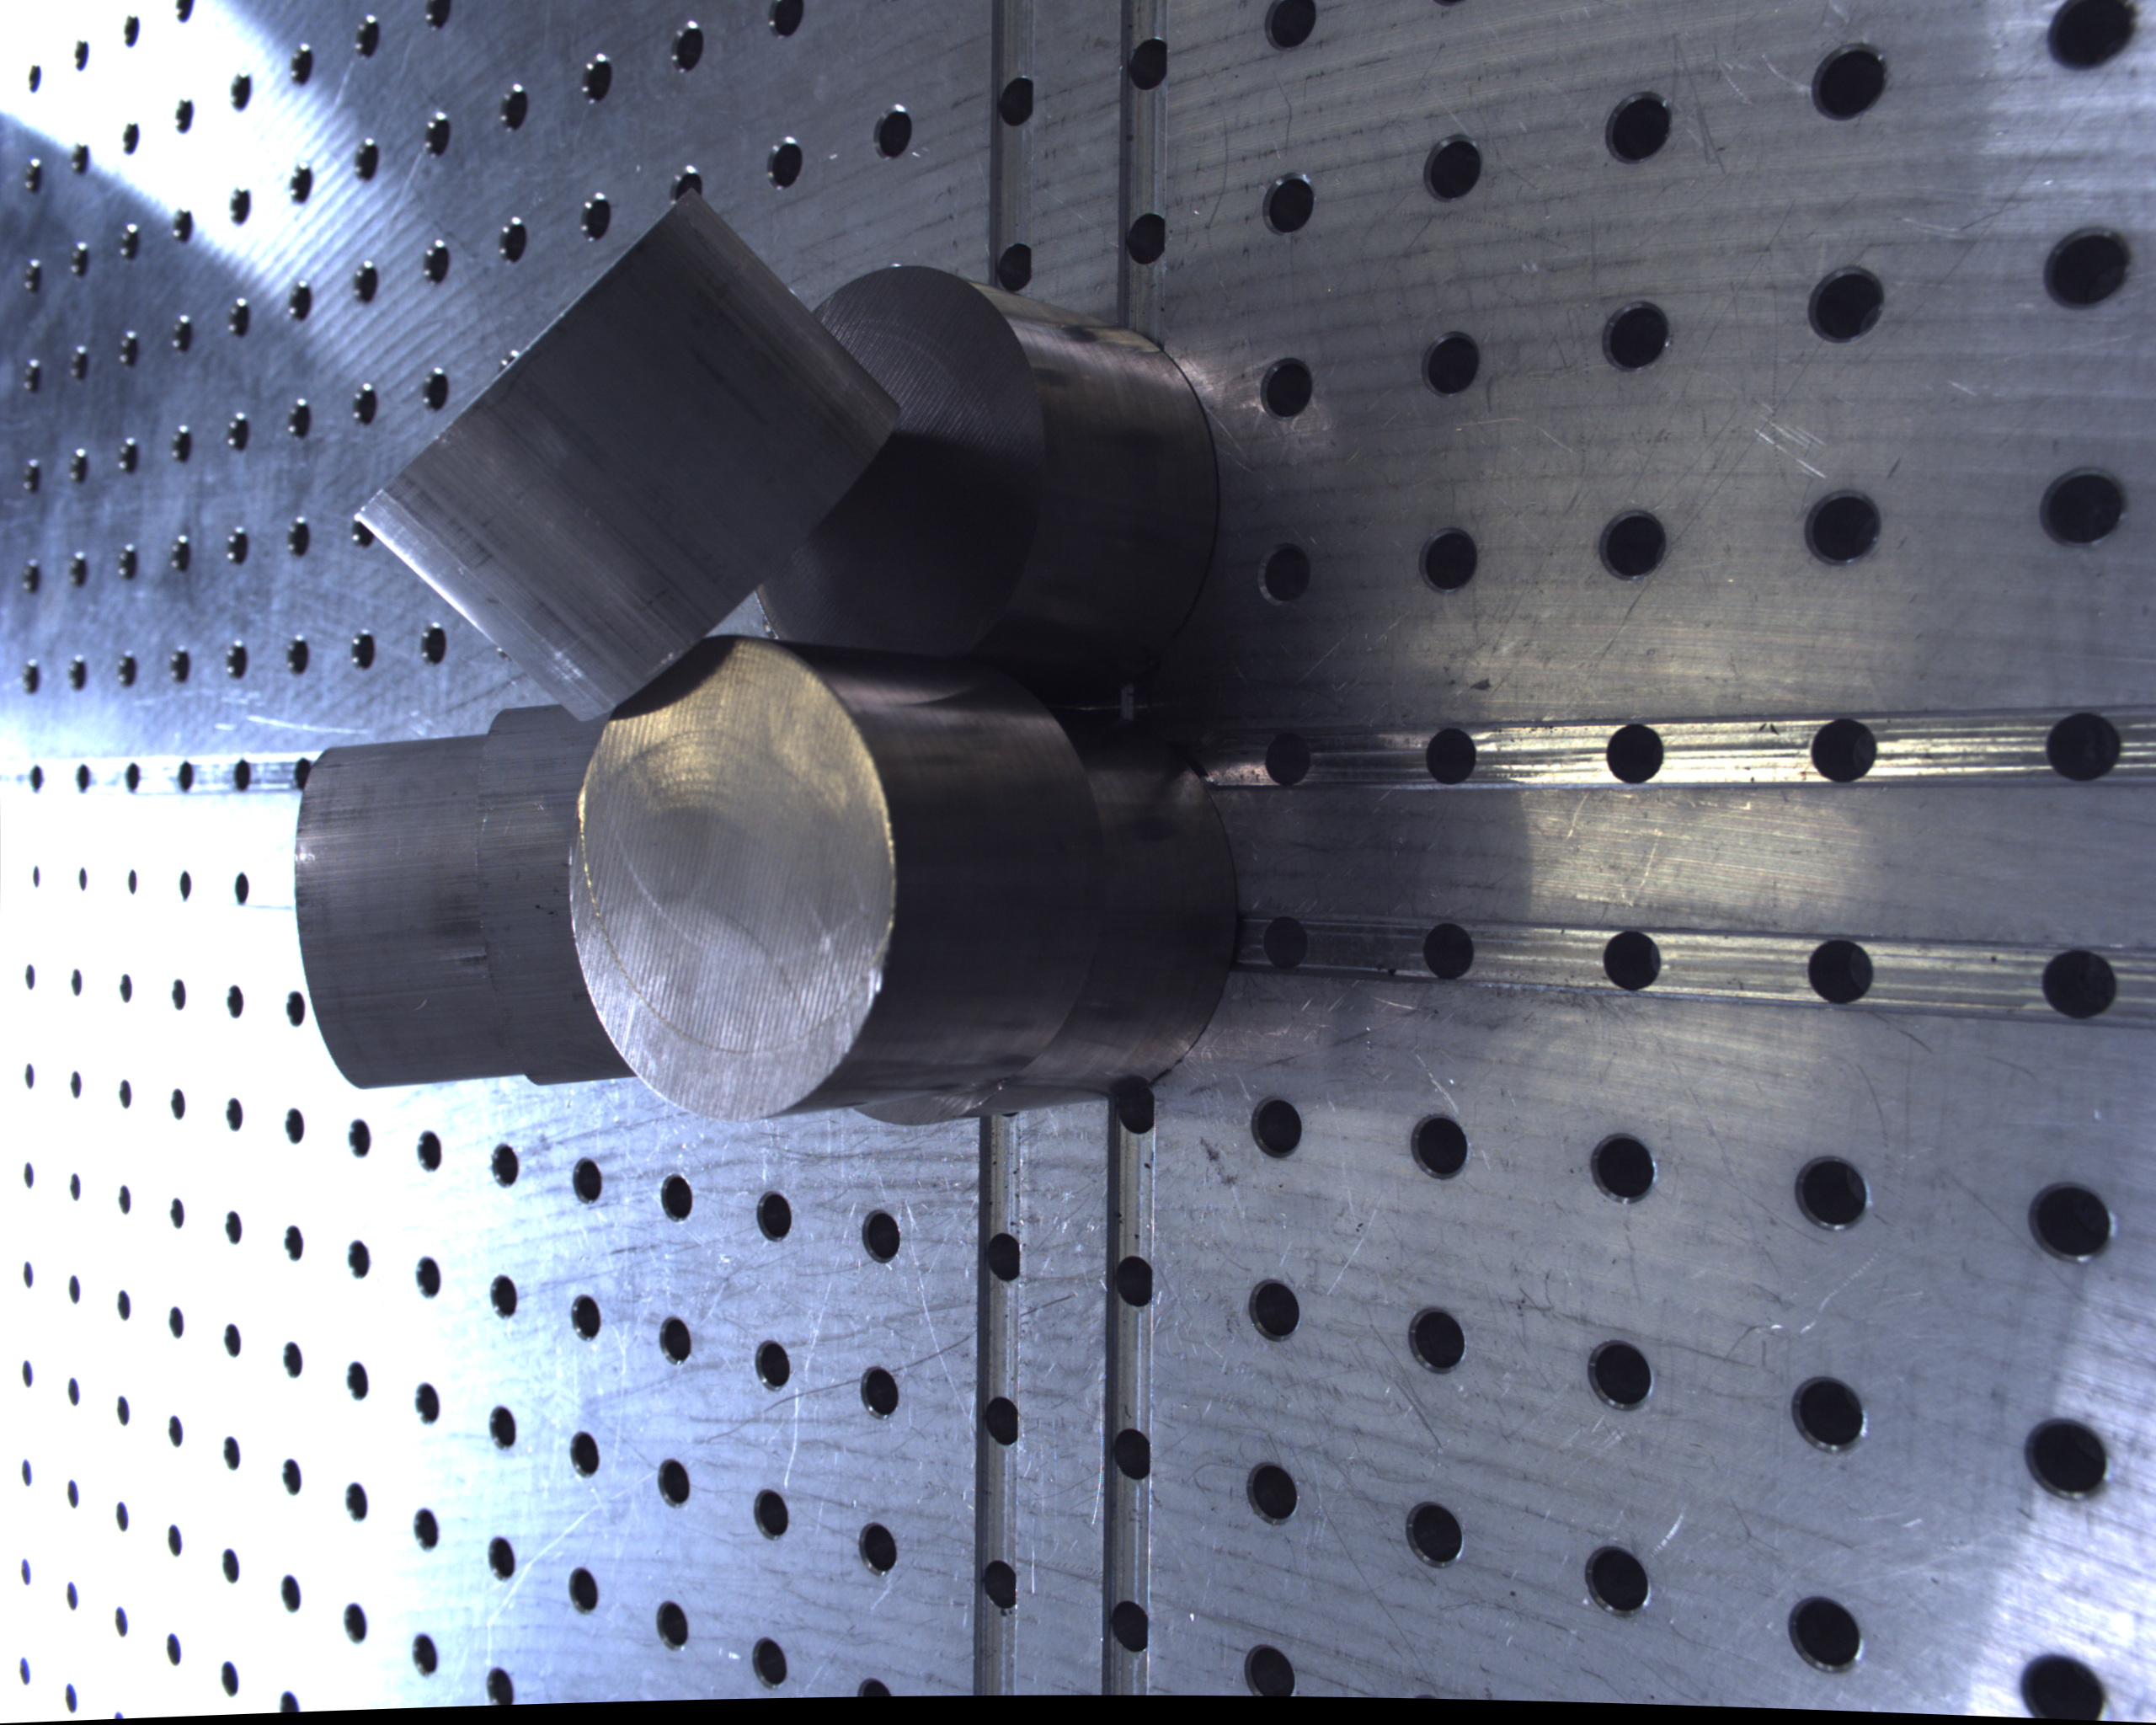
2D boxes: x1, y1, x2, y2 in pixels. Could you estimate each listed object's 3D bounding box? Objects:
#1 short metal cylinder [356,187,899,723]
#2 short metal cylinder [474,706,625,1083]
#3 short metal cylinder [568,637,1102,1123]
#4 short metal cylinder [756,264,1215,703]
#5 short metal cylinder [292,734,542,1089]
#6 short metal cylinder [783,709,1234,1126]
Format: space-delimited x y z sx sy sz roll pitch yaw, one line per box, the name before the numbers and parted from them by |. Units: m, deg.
short metal cylinder | -0.078 -0.070 0.364 0.080 0.080 0.050 -30 115 36
short metal cylinder | -0.091 0.005 0.439 0.050 0.080 0.080 -5 86 -2
short metal cylinder | -0.043 0.003 0.361 0.080 0.050 0.080 0 90 40
short metal cylinder | -0.020 -0.072 0.409 0.080 0.050 0.079 0 90 40
short metal cylinder | -0.143 0.010 0.483 0.050 0.080 0.080 -6 85 -2
short metal cylinder | -0.017 0.009 0.406 0.080 0.050 0.080 0 90 40
